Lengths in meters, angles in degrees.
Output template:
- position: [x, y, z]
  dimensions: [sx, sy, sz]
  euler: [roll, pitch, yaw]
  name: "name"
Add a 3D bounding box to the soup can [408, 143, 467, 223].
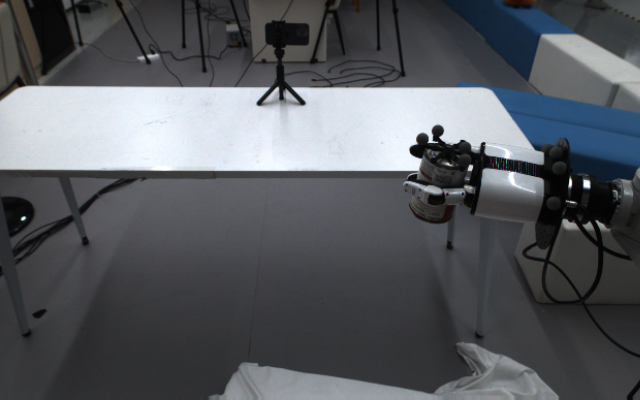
- position: [0.177, -0.025, 0.720]
  dimensions: [0.067, 0.101, 0.067]
  euler: [5, 36, -3]
  name: "soup can"
